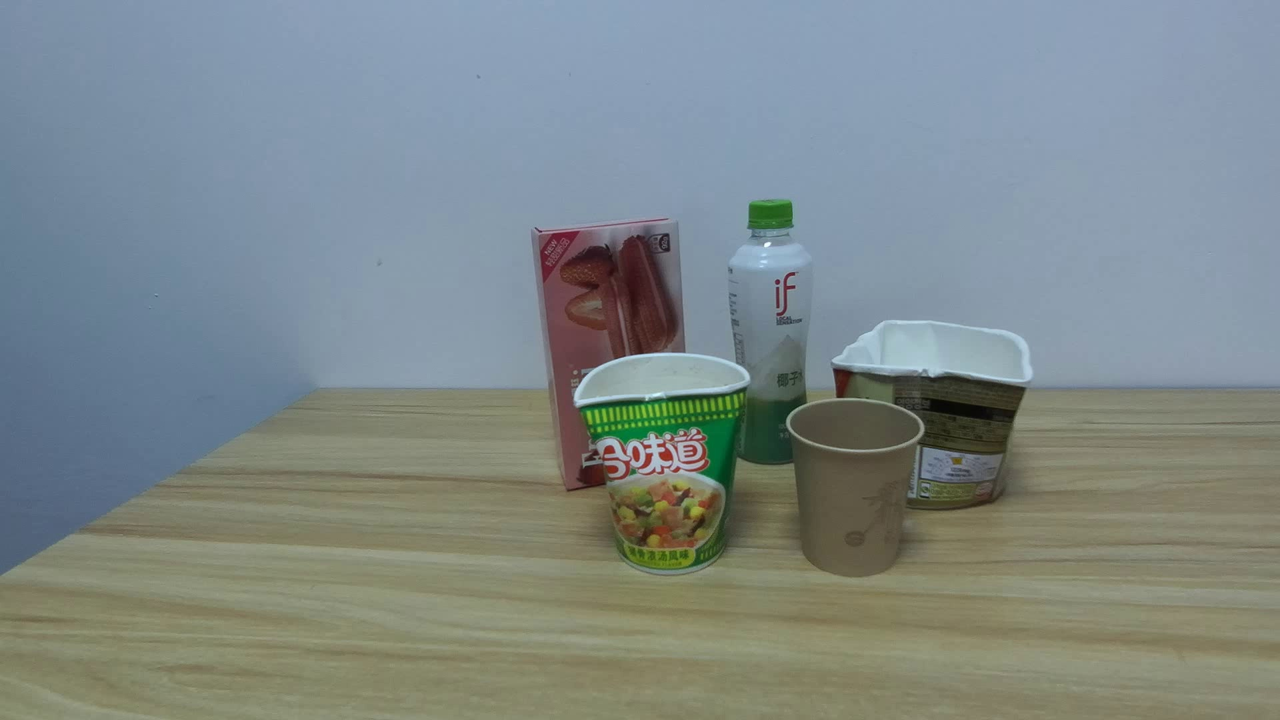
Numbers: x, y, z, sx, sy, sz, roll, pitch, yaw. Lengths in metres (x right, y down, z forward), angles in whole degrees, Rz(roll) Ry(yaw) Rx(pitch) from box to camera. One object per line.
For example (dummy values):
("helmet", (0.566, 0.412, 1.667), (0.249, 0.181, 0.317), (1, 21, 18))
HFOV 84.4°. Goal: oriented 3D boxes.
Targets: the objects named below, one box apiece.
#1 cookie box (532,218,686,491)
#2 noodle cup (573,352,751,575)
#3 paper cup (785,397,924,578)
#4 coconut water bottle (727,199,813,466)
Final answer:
("cookie box", (-0.018, -0.005, 0.512), (0.096, 0.184, 0.048), (-8, 16, -11))
("noodle cup", (0.019, 0.060, 0.422), (0.093, 0.109, 0.087), (2, 19, 17))
("paper cup", (0.121, 0.073, 0.403), (0.075, 0.082, 0.075), (-3, 18, 1))
("coconut water bottle", (0.097, -0.020, 0.521), (0.063, 0.188, 0.063), (-2, 16, 1))
